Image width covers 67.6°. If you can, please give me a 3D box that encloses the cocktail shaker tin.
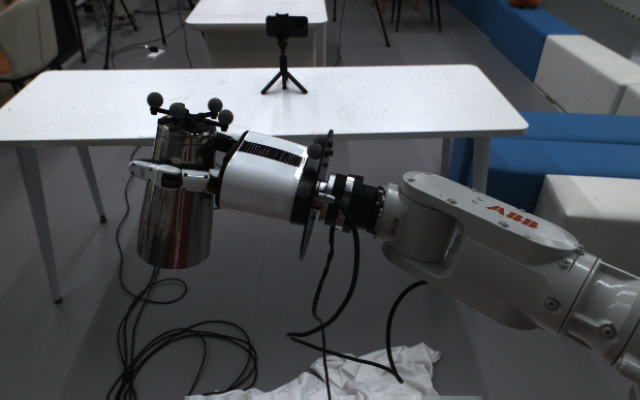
[{"bbox_3d":[-0.167,-0.014,0.590,0.093,0.170,0.093,12,25,-6],"label":"cocktail shaker tin"}]
